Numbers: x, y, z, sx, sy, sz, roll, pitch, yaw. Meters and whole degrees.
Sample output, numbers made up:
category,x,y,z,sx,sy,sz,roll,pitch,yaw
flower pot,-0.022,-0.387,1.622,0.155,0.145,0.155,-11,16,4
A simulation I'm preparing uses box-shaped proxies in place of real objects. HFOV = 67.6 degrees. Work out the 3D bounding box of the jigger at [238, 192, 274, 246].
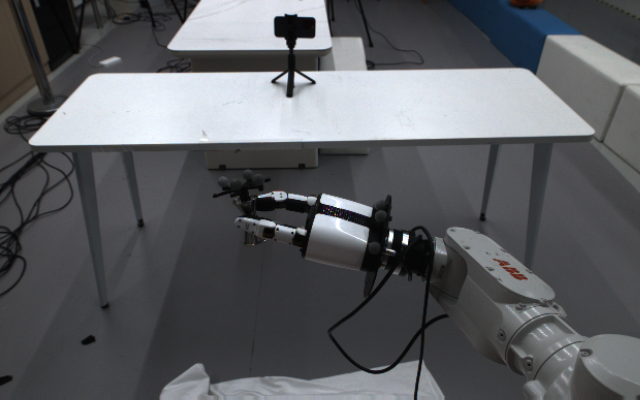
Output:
category,x,y,z,sx,sy,sz,roll,pitch,yaw
jigger,-0.102,0.028,0.733,0.043,0.071,0.043,-14,16,4
